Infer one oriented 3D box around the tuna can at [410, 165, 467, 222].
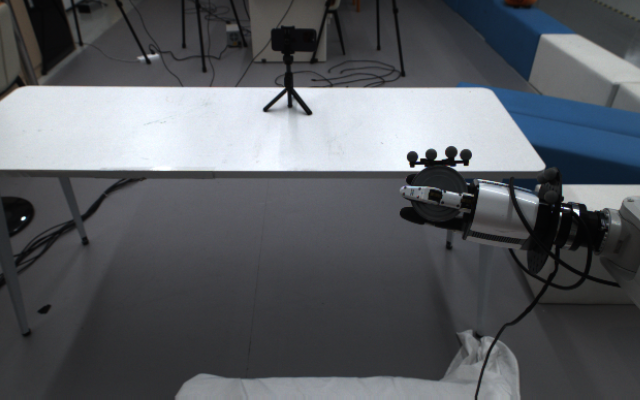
[{"bbox_3d":[0.182,-0.011,0.740,0.085,0.085,0.034,16,1,19],"label":"tuna can"}]
